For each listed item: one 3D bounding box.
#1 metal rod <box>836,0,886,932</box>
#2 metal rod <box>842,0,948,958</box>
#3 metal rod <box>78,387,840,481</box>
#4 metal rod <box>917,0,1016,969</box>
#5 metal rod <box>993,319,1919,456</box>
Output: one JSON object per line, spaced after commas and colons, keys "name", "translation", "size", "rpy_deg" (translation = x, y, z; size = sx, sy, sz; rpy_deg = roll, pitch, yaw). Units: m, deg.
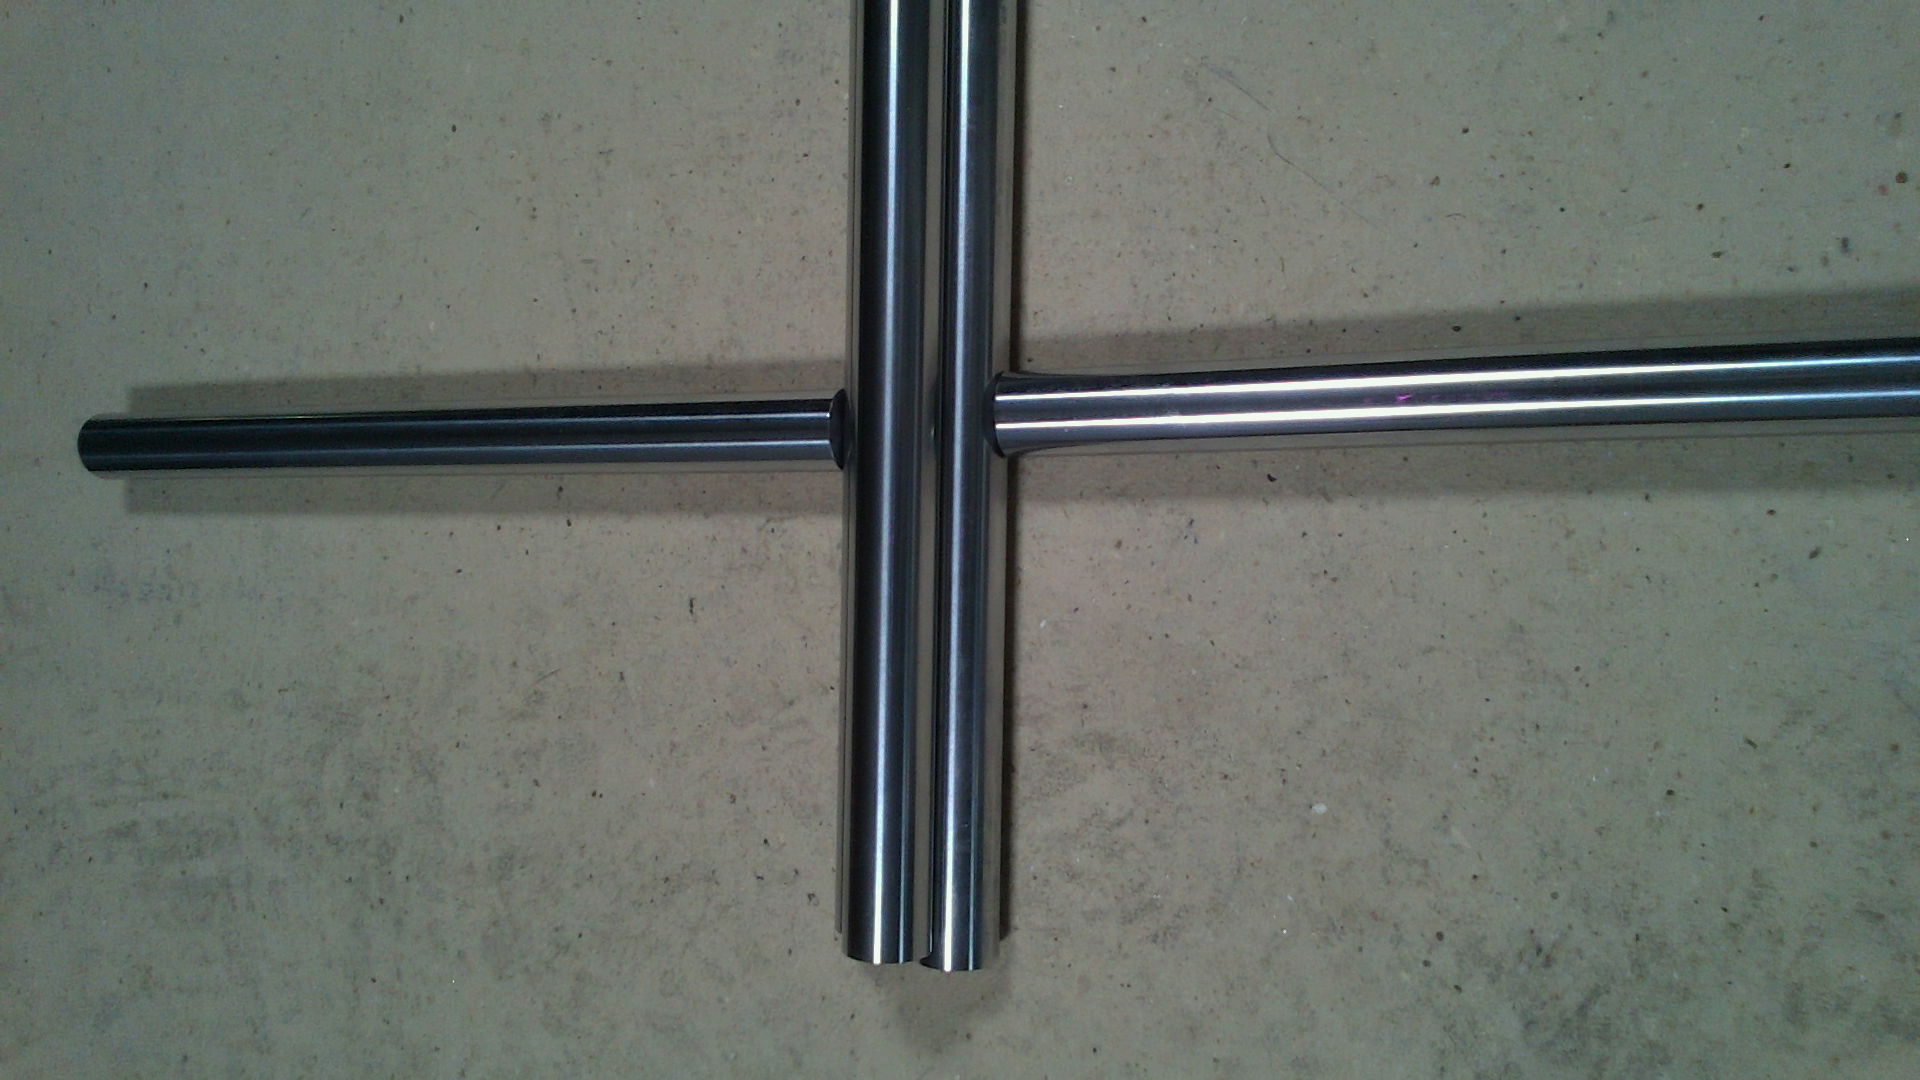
{"name": "metal rod", "translation": [-0.022, -0.036, 0.405], "size": [0.025, 0.025, 0.300], "rpy_deg": [1, 91, 20]}
{"name": "metal rod", "translation": [-0.018, -0.038, 0.381], "size": [0.025, 0.025, 0.300], "rpy_deg": [1, 91, 20]}
{"name": "metal rod", "translation": [-0.174, -0.034, 0.459], "size": [0.299, 0.025, 0.025], "rpy_deg": [0, 90, 20]}
{"name": "metal rod", "translation": [0.002, -0.030, 0.396], "size": [0.025, 0.025, 0.300], "rpy_deg": [1, 91, 20]}
{"name": "metal rod", "translation": [0.154, -0.038, 0.340], "size": [0.299, 0.025, 0.025], "rpy_deg": [-1, 90, 20]}
